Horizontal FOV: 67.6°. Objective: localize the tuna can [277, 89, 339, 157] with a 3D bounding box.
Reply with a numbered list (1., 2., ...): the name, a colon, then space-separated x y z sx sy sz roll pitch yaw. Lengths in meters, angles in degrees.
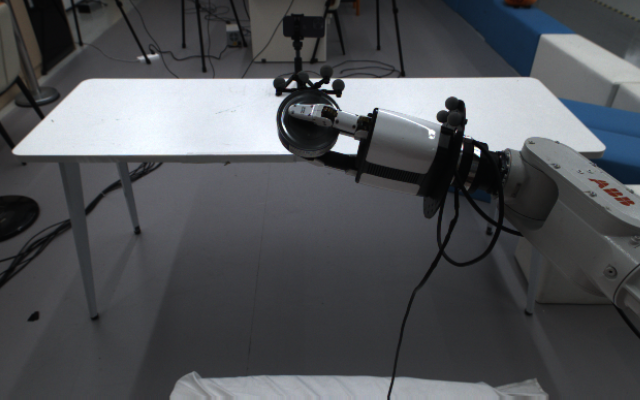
1. tuna can: -0.013 -0.097 0.634 0.085 0.034 0.085 1 71 -4
